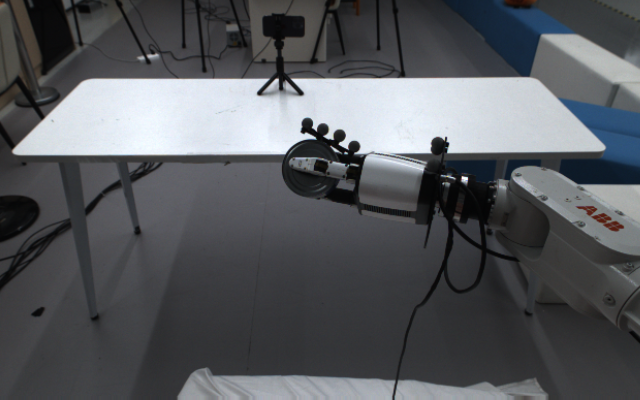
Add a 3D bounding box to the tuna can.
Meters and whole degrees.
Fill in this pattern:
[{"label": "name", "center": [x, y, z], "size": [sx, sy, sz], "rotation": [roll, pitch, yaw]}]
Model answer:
[{"label": "tuna can", "center": [-0.011, -0.045, 0.719], "size": [0.085, 0.085, 0.034], "rotation": [9, -5, 10]}]
